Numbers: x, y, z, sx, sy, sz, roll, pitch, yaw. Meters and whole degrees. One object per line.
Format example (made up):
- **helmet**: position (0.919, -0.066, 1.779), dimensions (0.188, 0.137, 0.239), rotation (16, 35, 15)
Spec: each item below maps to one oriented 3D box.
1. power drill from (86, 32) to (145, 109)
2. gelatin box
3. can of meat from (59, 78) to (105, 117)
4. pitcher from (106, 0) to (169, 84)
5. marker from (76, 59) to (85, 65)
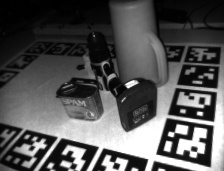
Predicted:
- **power drill**: position (0.002, -0.039, 0.544), dimensions (0.057, 0.186, 0.184), rotation (-34, 49, -17)
- **gelatin box**: position (-0.040, -0.071, 0.681), dimensions (0.088, 0.074, 0.030), rotation (15, 52, 29)
- **can of meat**: position (-0.073, 0.032, 0.555), dimensions (0.101, 0.084, 0.058), rotation (5, 41, 21)
- **pitcher**: position (0.078, -0.120, 0.581), dimensions (0.134, 0.245, 0.186), rotation (-36, 37, -18)
- **marker**: position (-0.065, -0.093, 0.753), dimensions (0.121, 0.020, 0.019), rotation (-13, 40, 2)
